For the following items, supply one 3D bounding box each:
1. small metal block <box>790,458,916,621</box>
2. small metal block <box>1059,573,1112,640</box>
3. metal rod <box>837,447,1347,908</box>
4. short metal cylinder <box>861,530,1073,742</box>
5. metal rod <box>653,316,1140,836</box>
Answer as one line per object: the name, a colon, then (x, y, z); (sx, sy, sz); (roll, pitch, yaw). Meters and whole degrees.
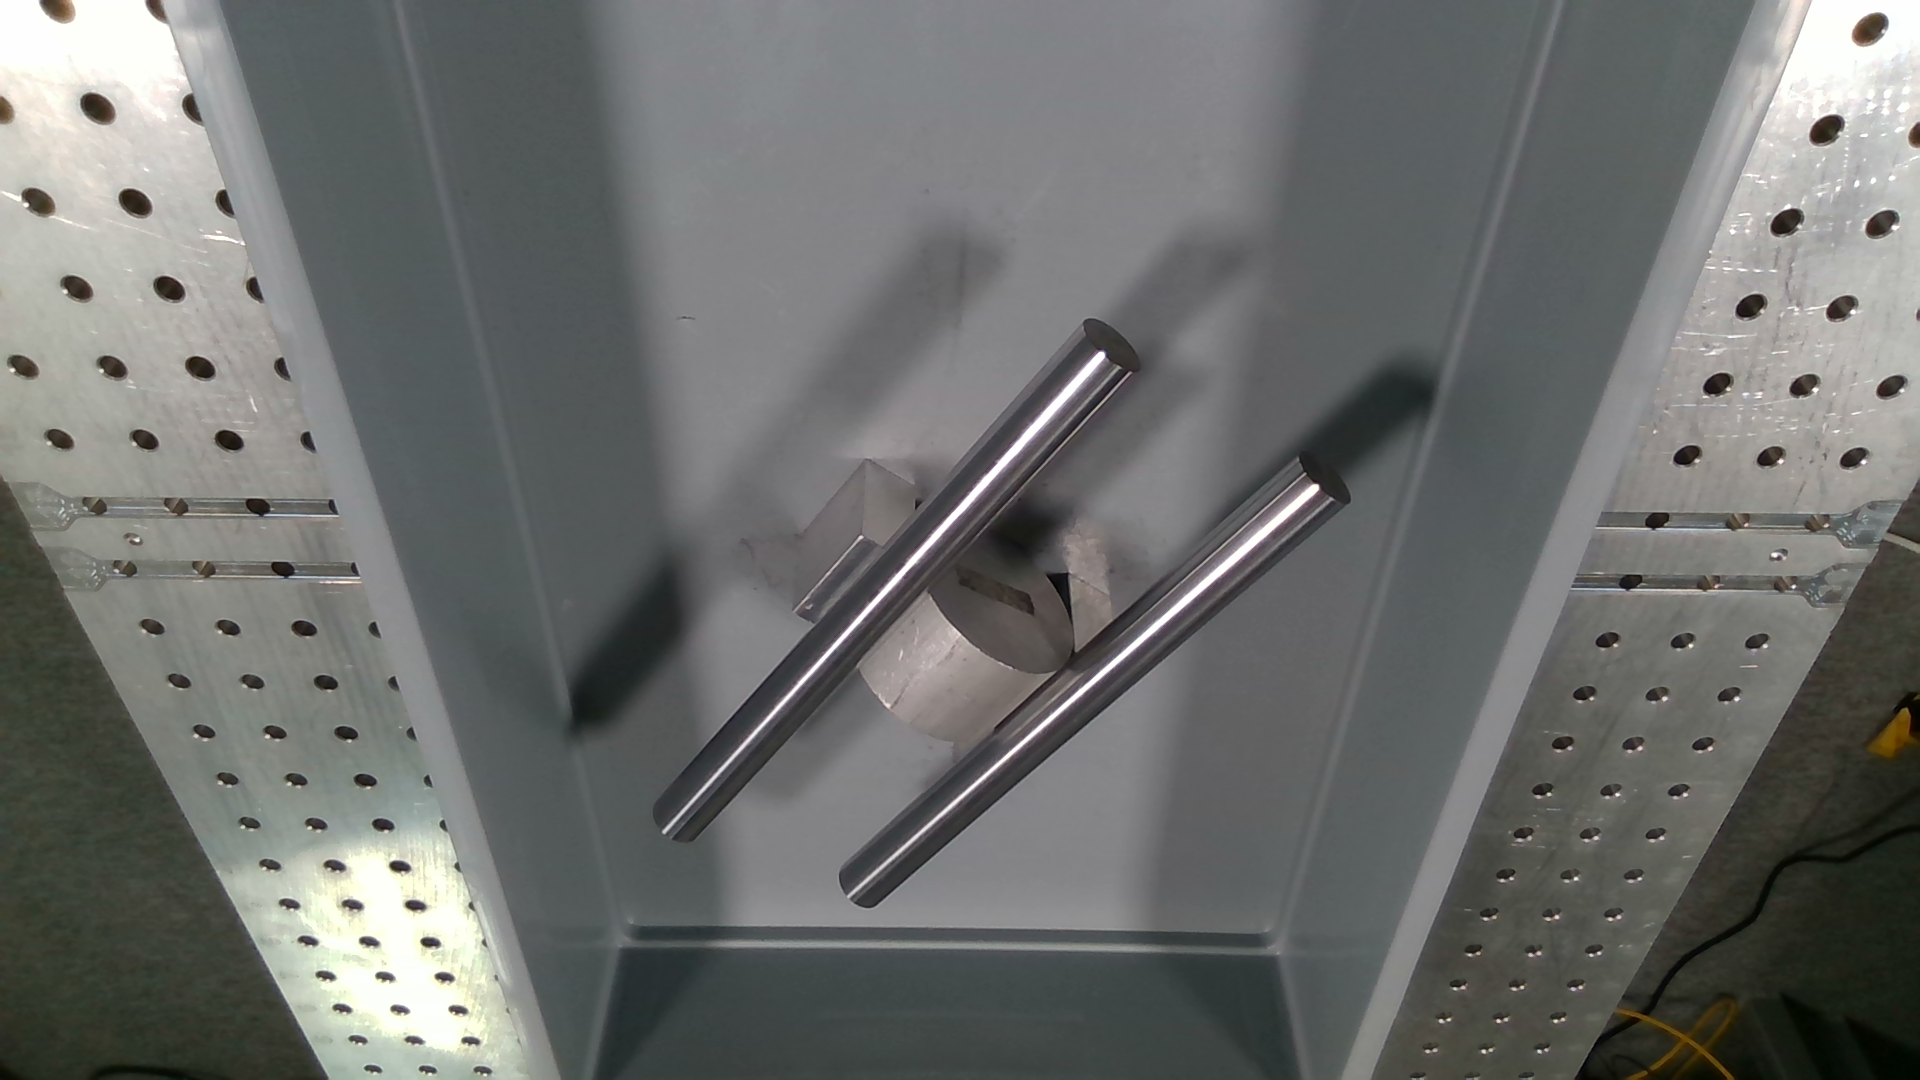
small metal block: (-0.043, 0.004, 0.564); (0.025, 0.050, 0.050); (30, 124, -23)
small metal block: (0.042, 0.052, 0.604); (0.025, 0.050, 0.050); (30, 124, -23)
metal rod: (0.041, 0.069, 0.571); (0.025, 0.025, 0.301); (29, 124, -22)
short metal cylinder: (0.000, 0.037, 0.573); (0.080, 0.080, 0.050); (29, 124, -22)
metal rod: (-0.038, 0.028, 0.538); (0.025, 0.025, 0.301); (29, 124, -22)
